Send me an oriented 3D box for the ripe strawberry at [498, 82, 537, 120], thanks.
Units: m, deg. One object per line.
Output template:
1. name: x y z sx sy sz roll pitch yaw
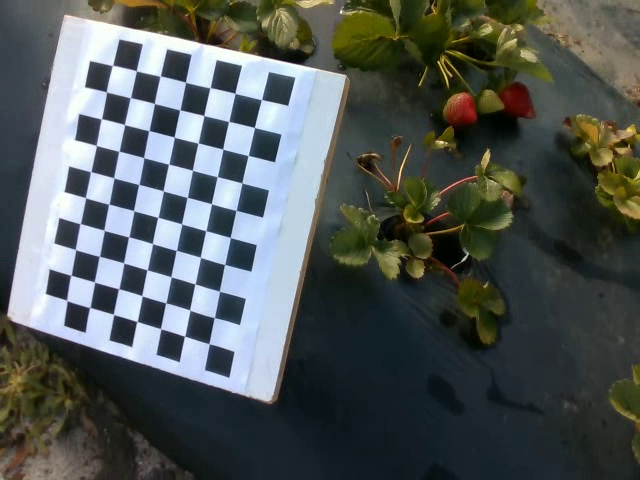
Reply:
1. ripe strawberry: 0.265 -0.183 0.806 0.048 0.065 0.050 -36 -12 11
